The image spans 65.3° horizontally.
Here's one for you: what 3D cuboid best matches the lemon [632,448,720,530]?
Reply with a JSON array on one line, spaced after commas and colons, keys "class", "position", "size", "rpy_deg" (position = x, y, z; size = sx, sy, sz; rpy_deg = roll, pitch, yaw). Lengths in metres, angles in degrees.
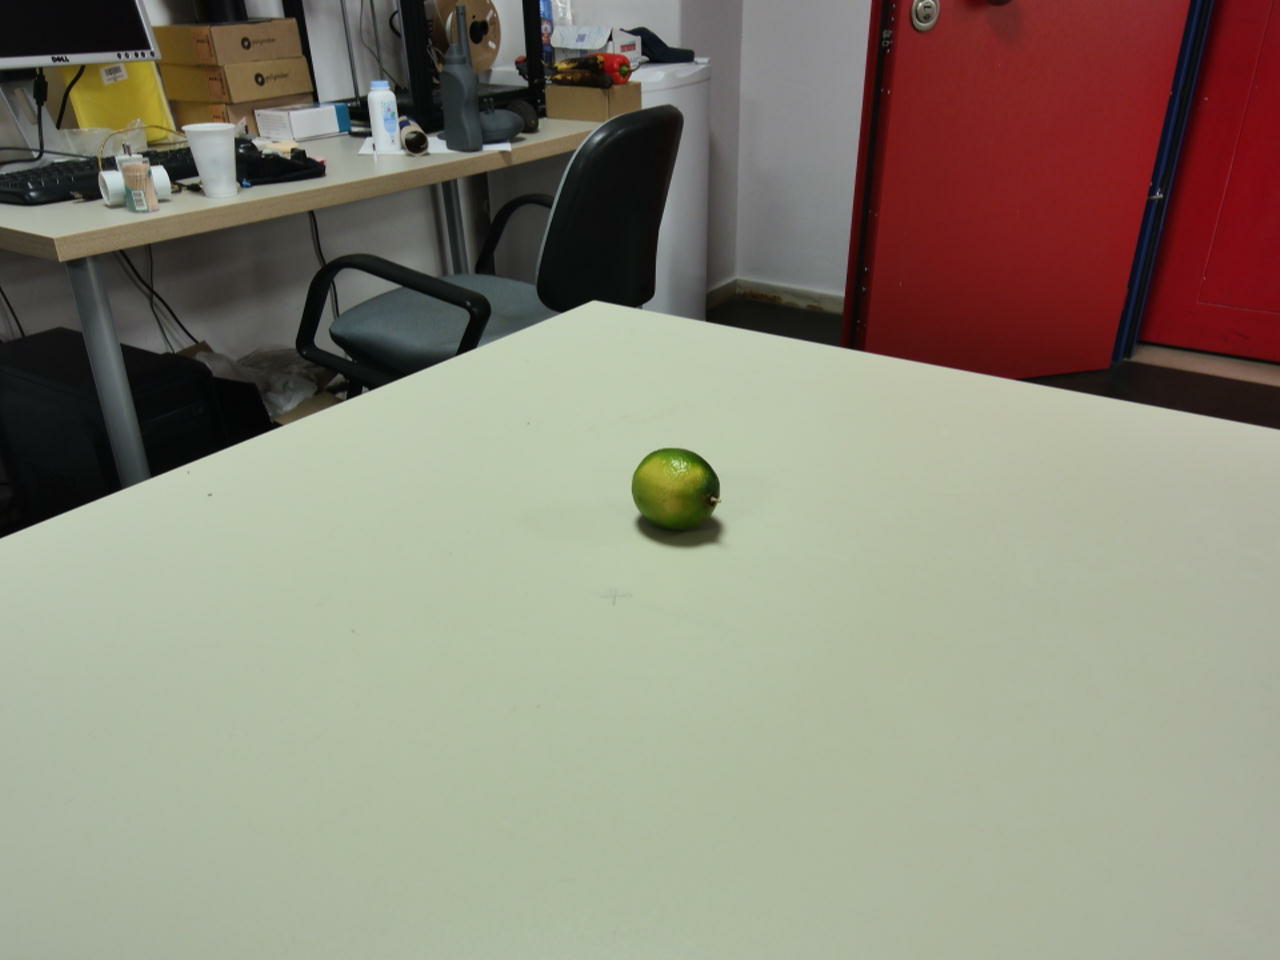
[{"class": "lemon", "position": [0.022, 0.005, 0.626], "size": [0.054, 0.050, 0.055], "rpy_deg": [-1, 25, -4]}]
